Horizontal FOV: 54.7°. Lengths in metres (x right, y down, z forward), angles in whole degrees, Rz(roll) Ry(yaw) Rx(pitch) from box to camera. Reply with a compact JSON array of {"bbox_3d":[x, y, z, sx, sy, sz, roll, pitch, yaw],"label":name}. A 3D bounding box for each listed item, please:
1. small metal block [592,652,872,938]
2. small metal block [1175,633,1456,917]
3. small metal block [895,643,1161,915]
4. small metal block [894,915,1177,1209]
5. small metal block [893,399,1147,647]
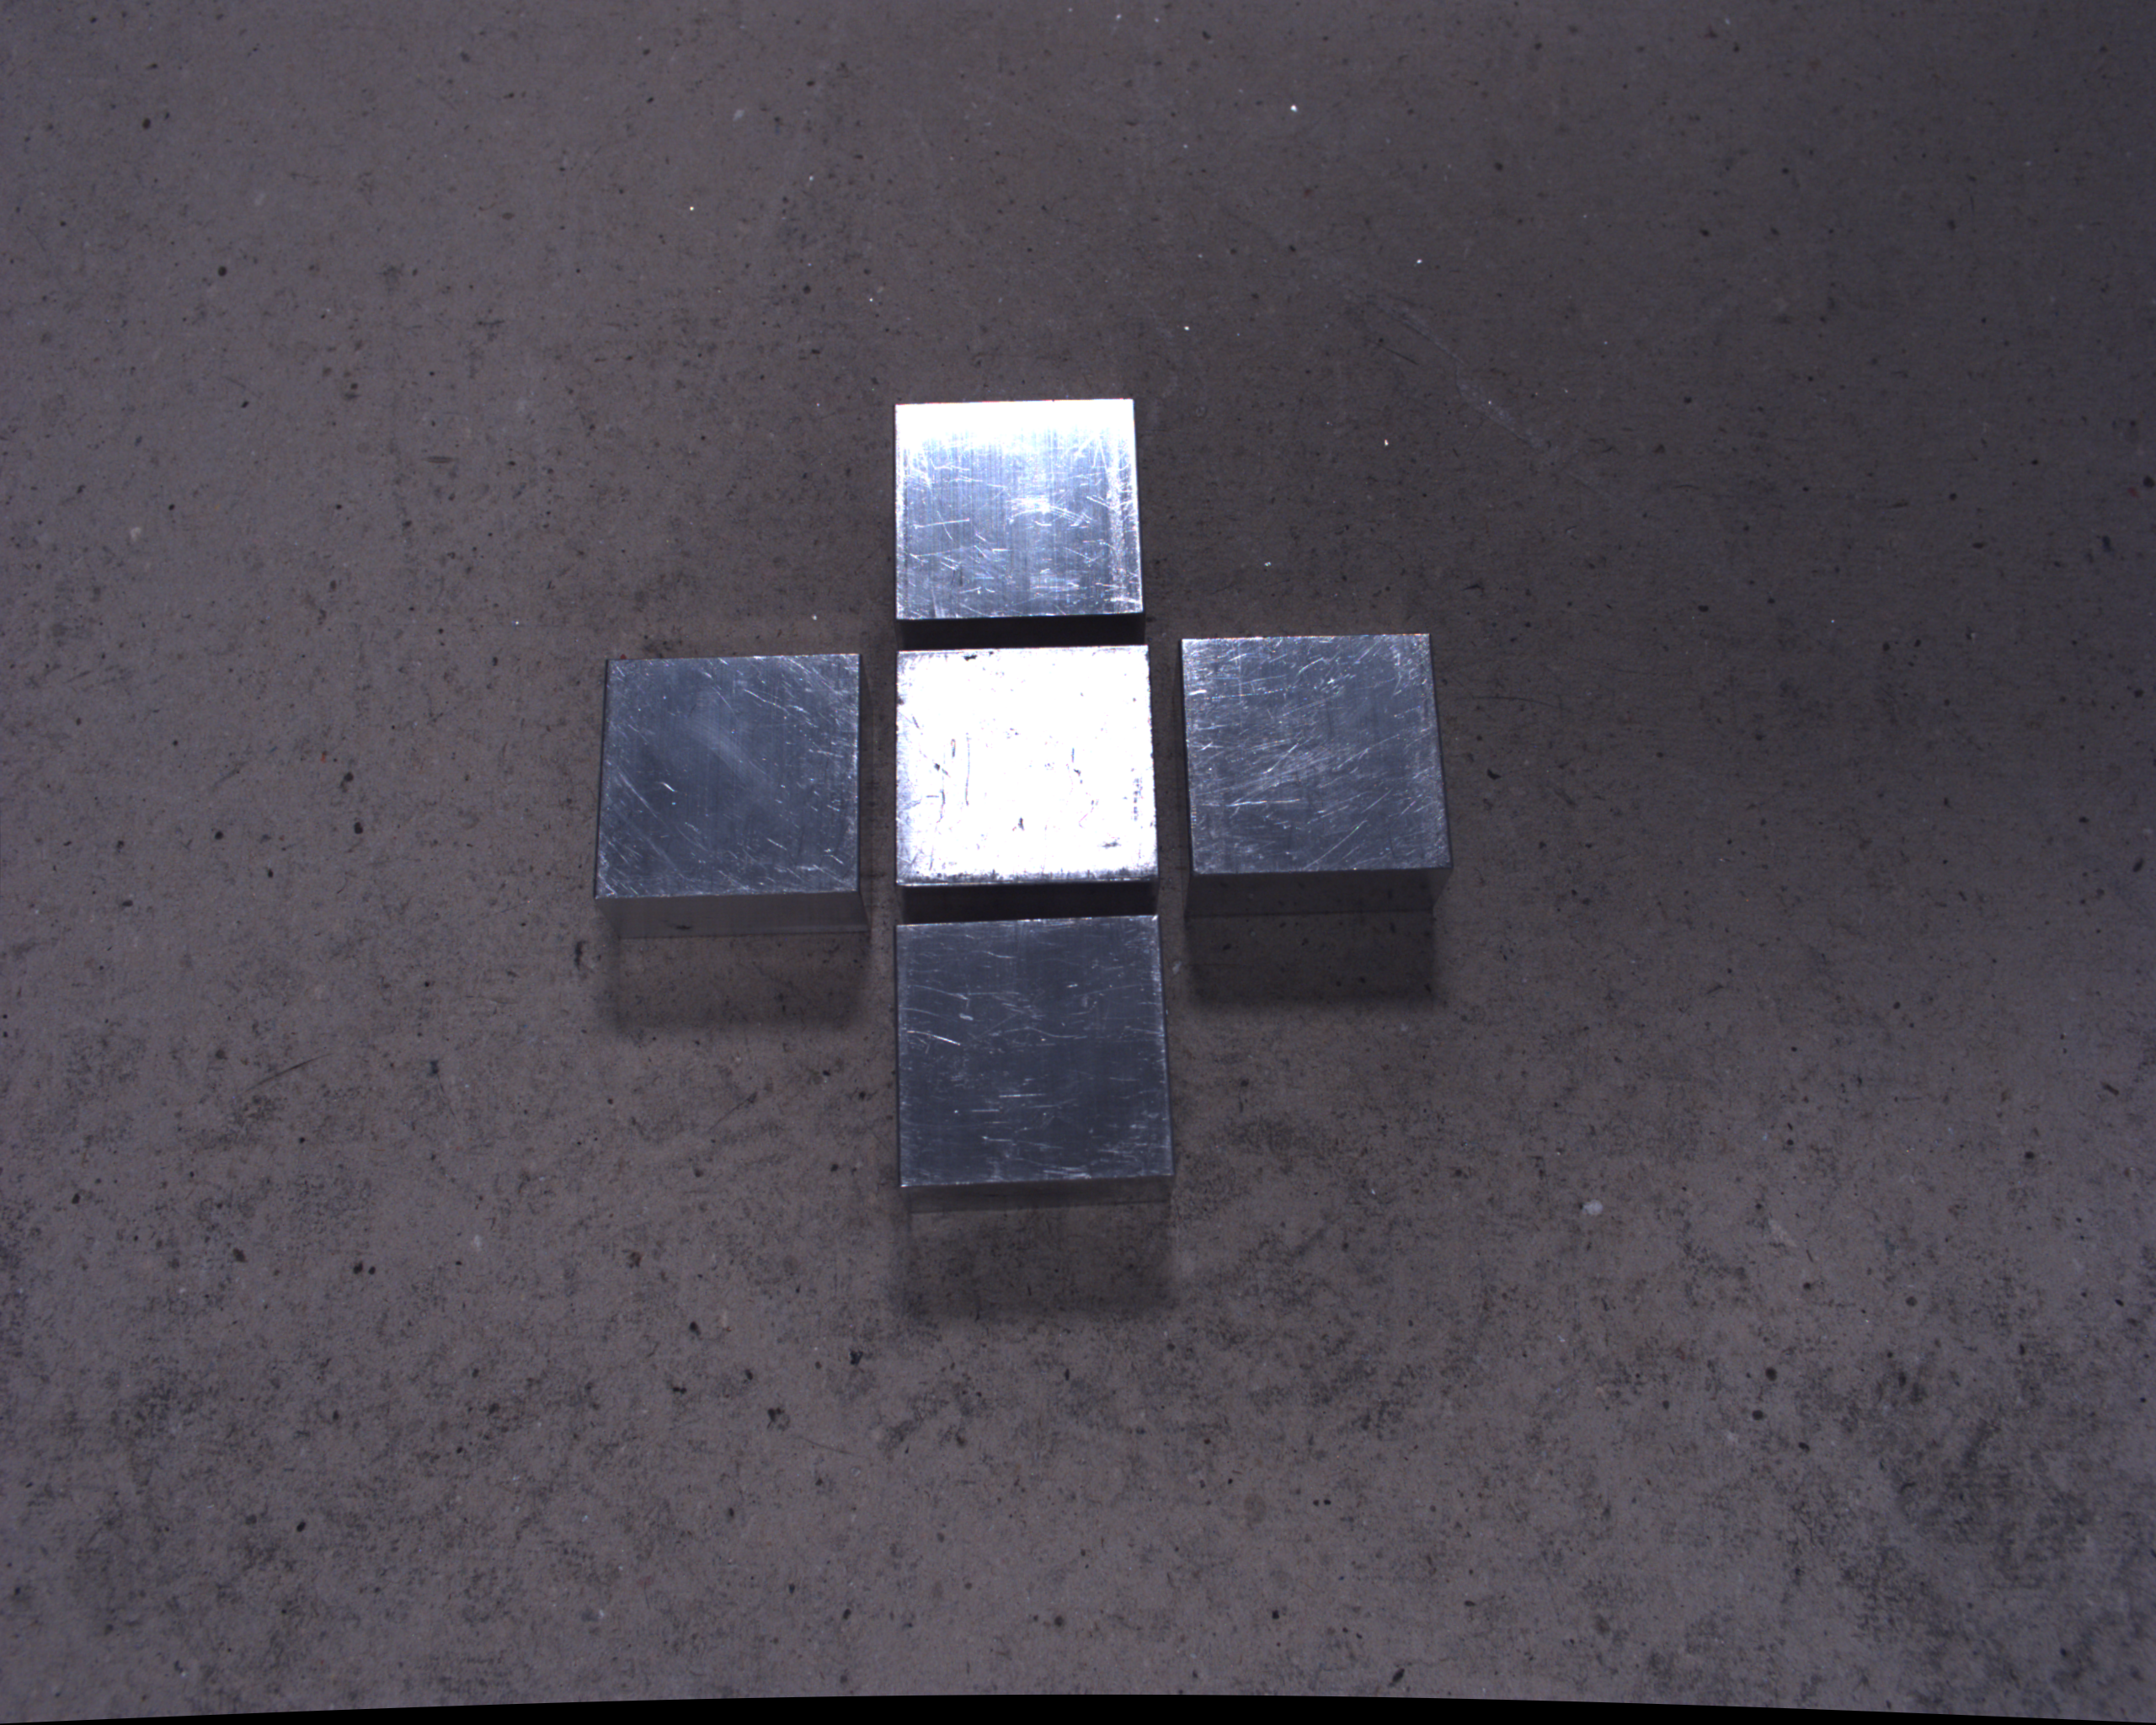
[{"bbox_3d":[-0.067,-0.013,0.413,0.050,0.025,0.050,-2,70,-1],"label":"small metal block"},{"bbox_3d":[0.046,-0.017,0.416,0.050,0.025,0.050,-2,70,-1],"label":"small metal block"},{"bbox_3d":[-0.010,-0.015,0.415,0.050,0.025,0.050,-2,70,-1],"label":"small metal block"},{"bbox_3d":[-0.008,0.038,0.395,0.050,0.025,0.050,-2,70,-1],"label":"small metal block"},{"bbox_3d":[-0.012,-0.068,0.434,0.050,0.025,0.050,-2,70,-1],"label":"small metal block"}]
